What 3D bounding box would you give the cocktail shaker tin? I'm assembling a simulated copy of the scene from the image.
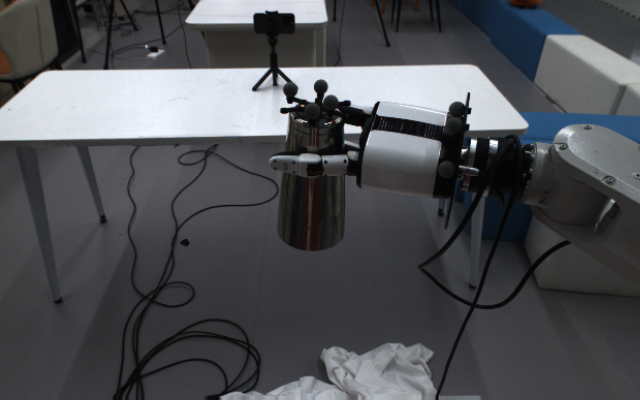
[{"bbox_3d":[-0.006,-0.033,0.617,0.093,0.170,0.093,3,33,-2],"label":"cocktail shaker tin"}]
